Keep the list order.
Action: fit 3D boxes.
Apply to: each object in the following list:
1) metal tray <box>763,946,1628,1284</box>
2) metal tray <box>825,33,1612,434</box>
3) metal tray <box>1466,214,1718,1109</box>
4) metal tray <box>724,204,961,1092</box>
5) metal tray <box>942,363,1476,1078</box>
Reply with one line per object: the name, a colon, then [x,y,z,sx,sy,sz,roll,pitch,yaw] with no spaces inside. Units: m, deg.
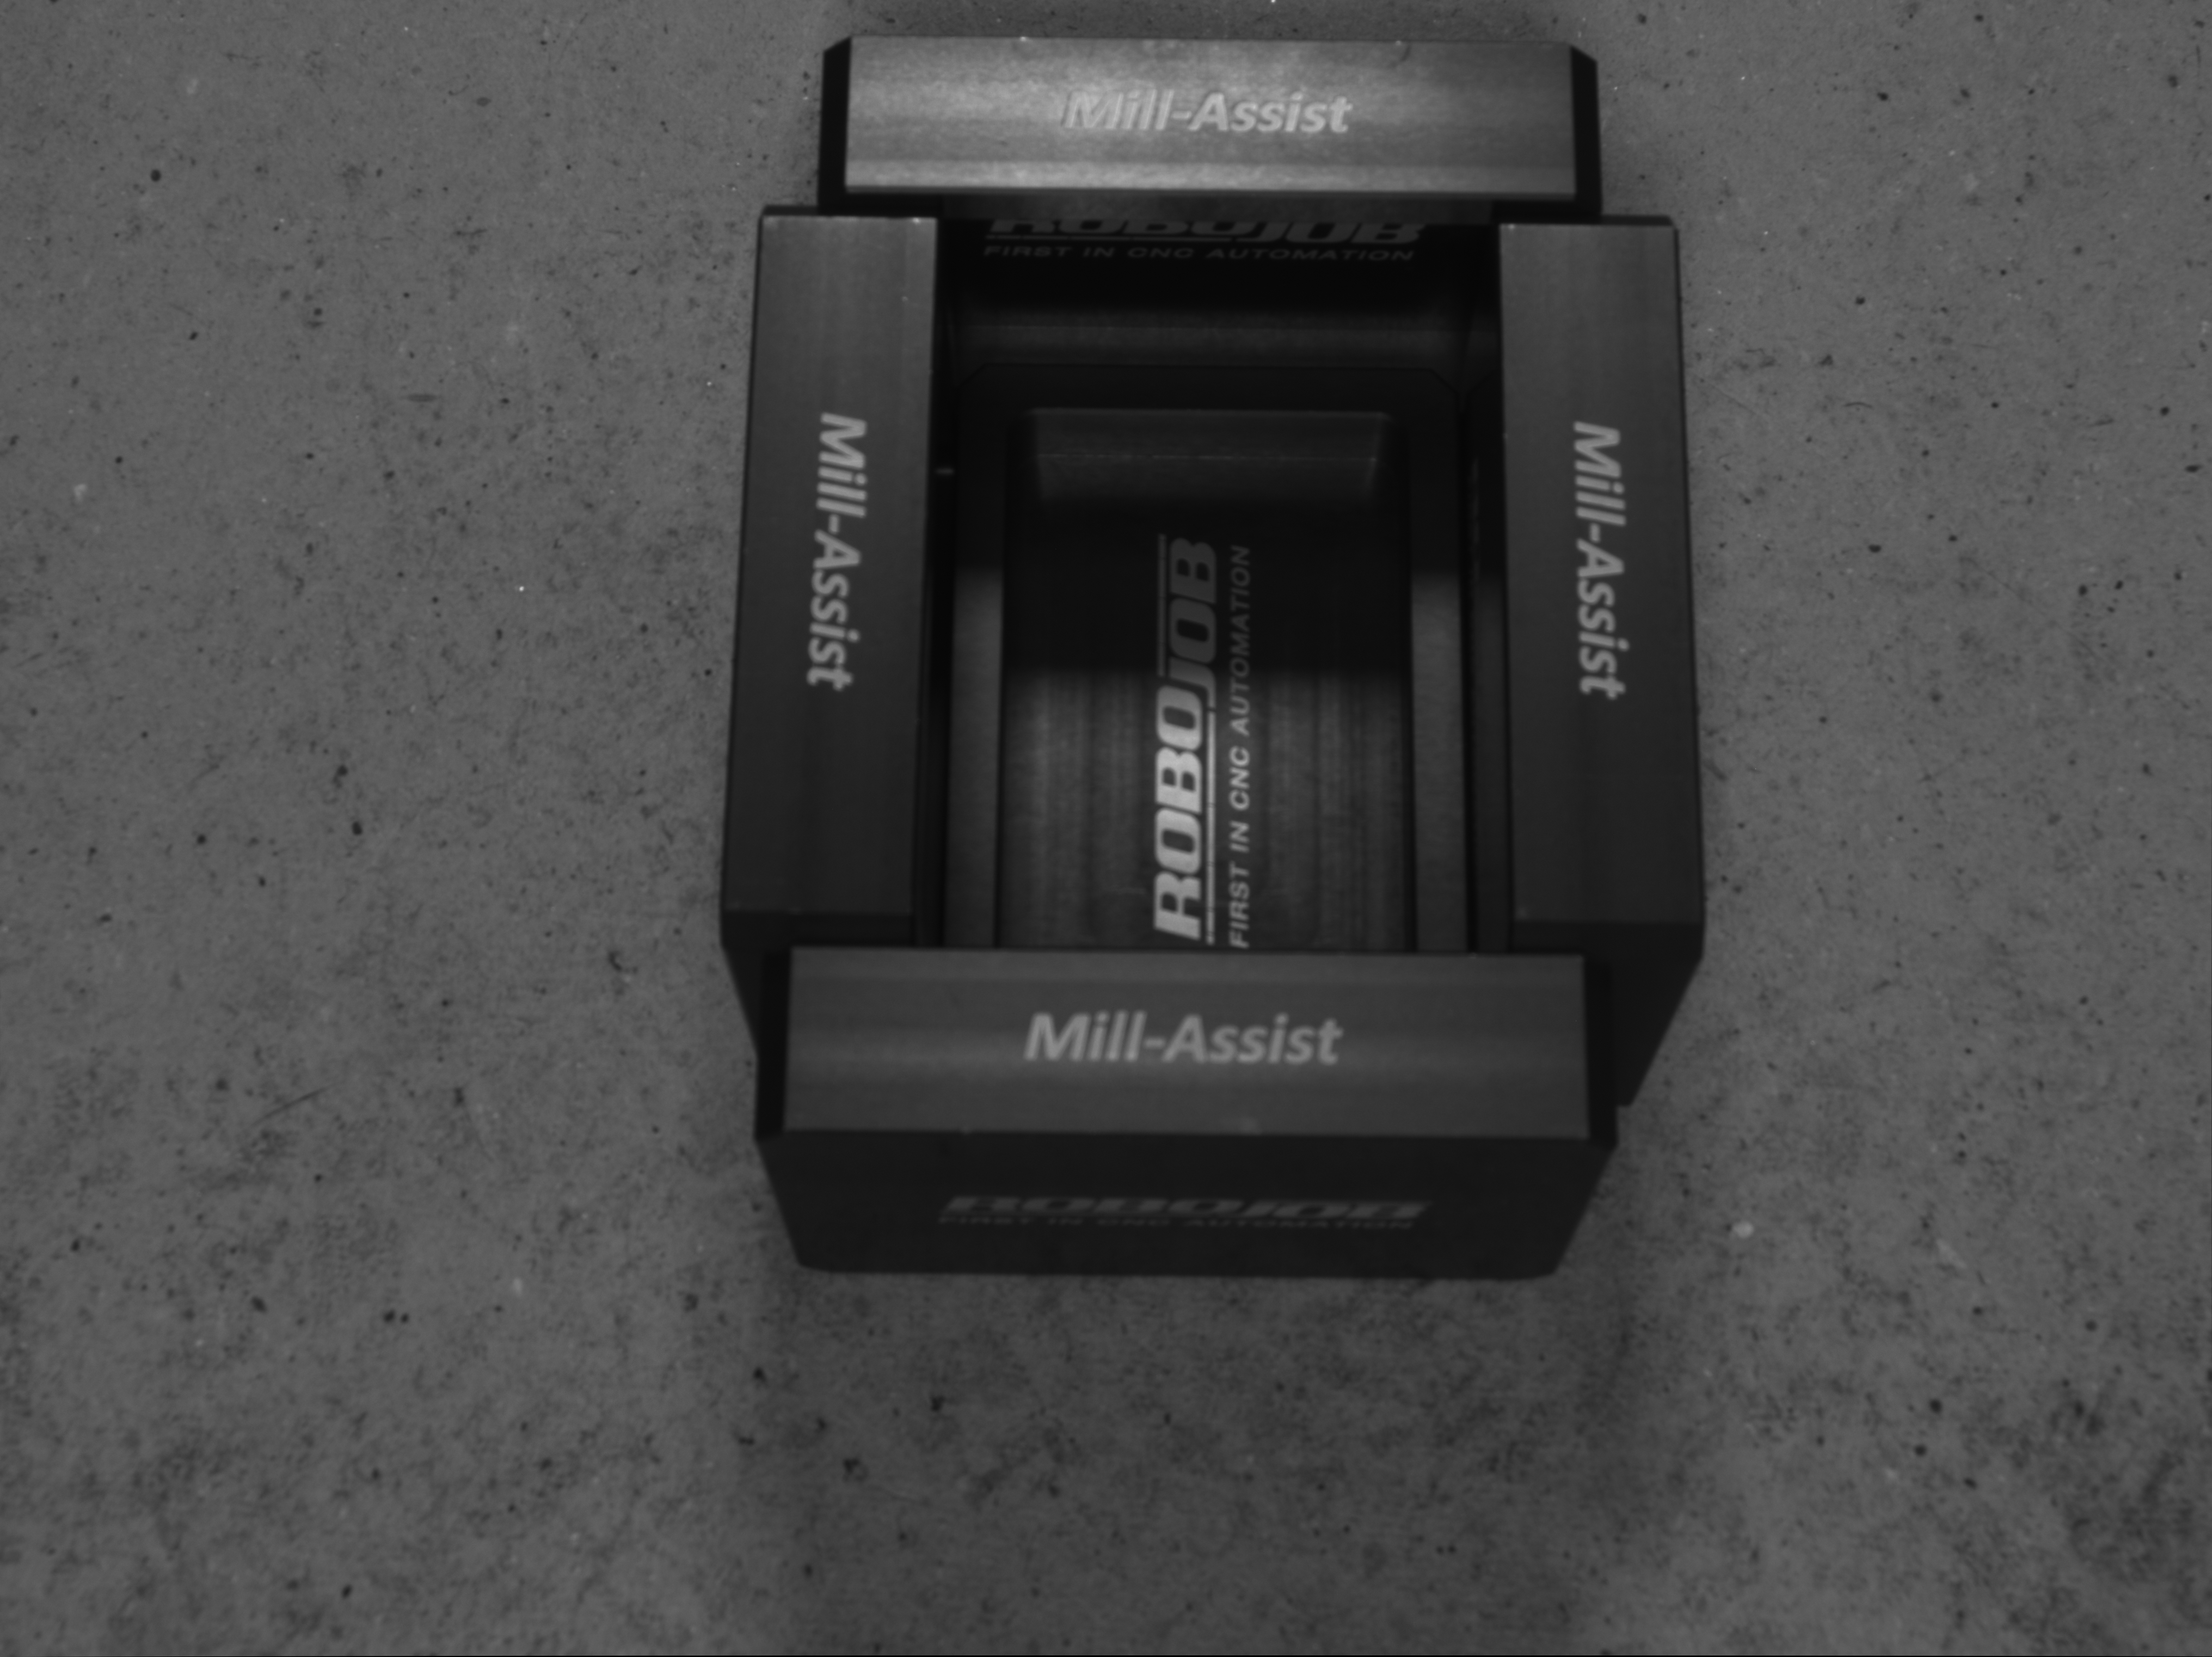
metal tray: [0.014,0.048,0.592,0.130,0.090,0.030,1,70,0]
metal tray: [0.019,-0.103,0.648,0.130,0.090,0.030,1,70,0]
metal tray: [0.079,-0.026,0.620,0.030,0.090,0.130,1,70,1]
metal tray: [-0.042,-0.028,0.620,0.030,0.090,0.130,1,70,1]
metal tray: [0.018,-0.017,0.649,0.090,0.030,0.130,1,70,0]
